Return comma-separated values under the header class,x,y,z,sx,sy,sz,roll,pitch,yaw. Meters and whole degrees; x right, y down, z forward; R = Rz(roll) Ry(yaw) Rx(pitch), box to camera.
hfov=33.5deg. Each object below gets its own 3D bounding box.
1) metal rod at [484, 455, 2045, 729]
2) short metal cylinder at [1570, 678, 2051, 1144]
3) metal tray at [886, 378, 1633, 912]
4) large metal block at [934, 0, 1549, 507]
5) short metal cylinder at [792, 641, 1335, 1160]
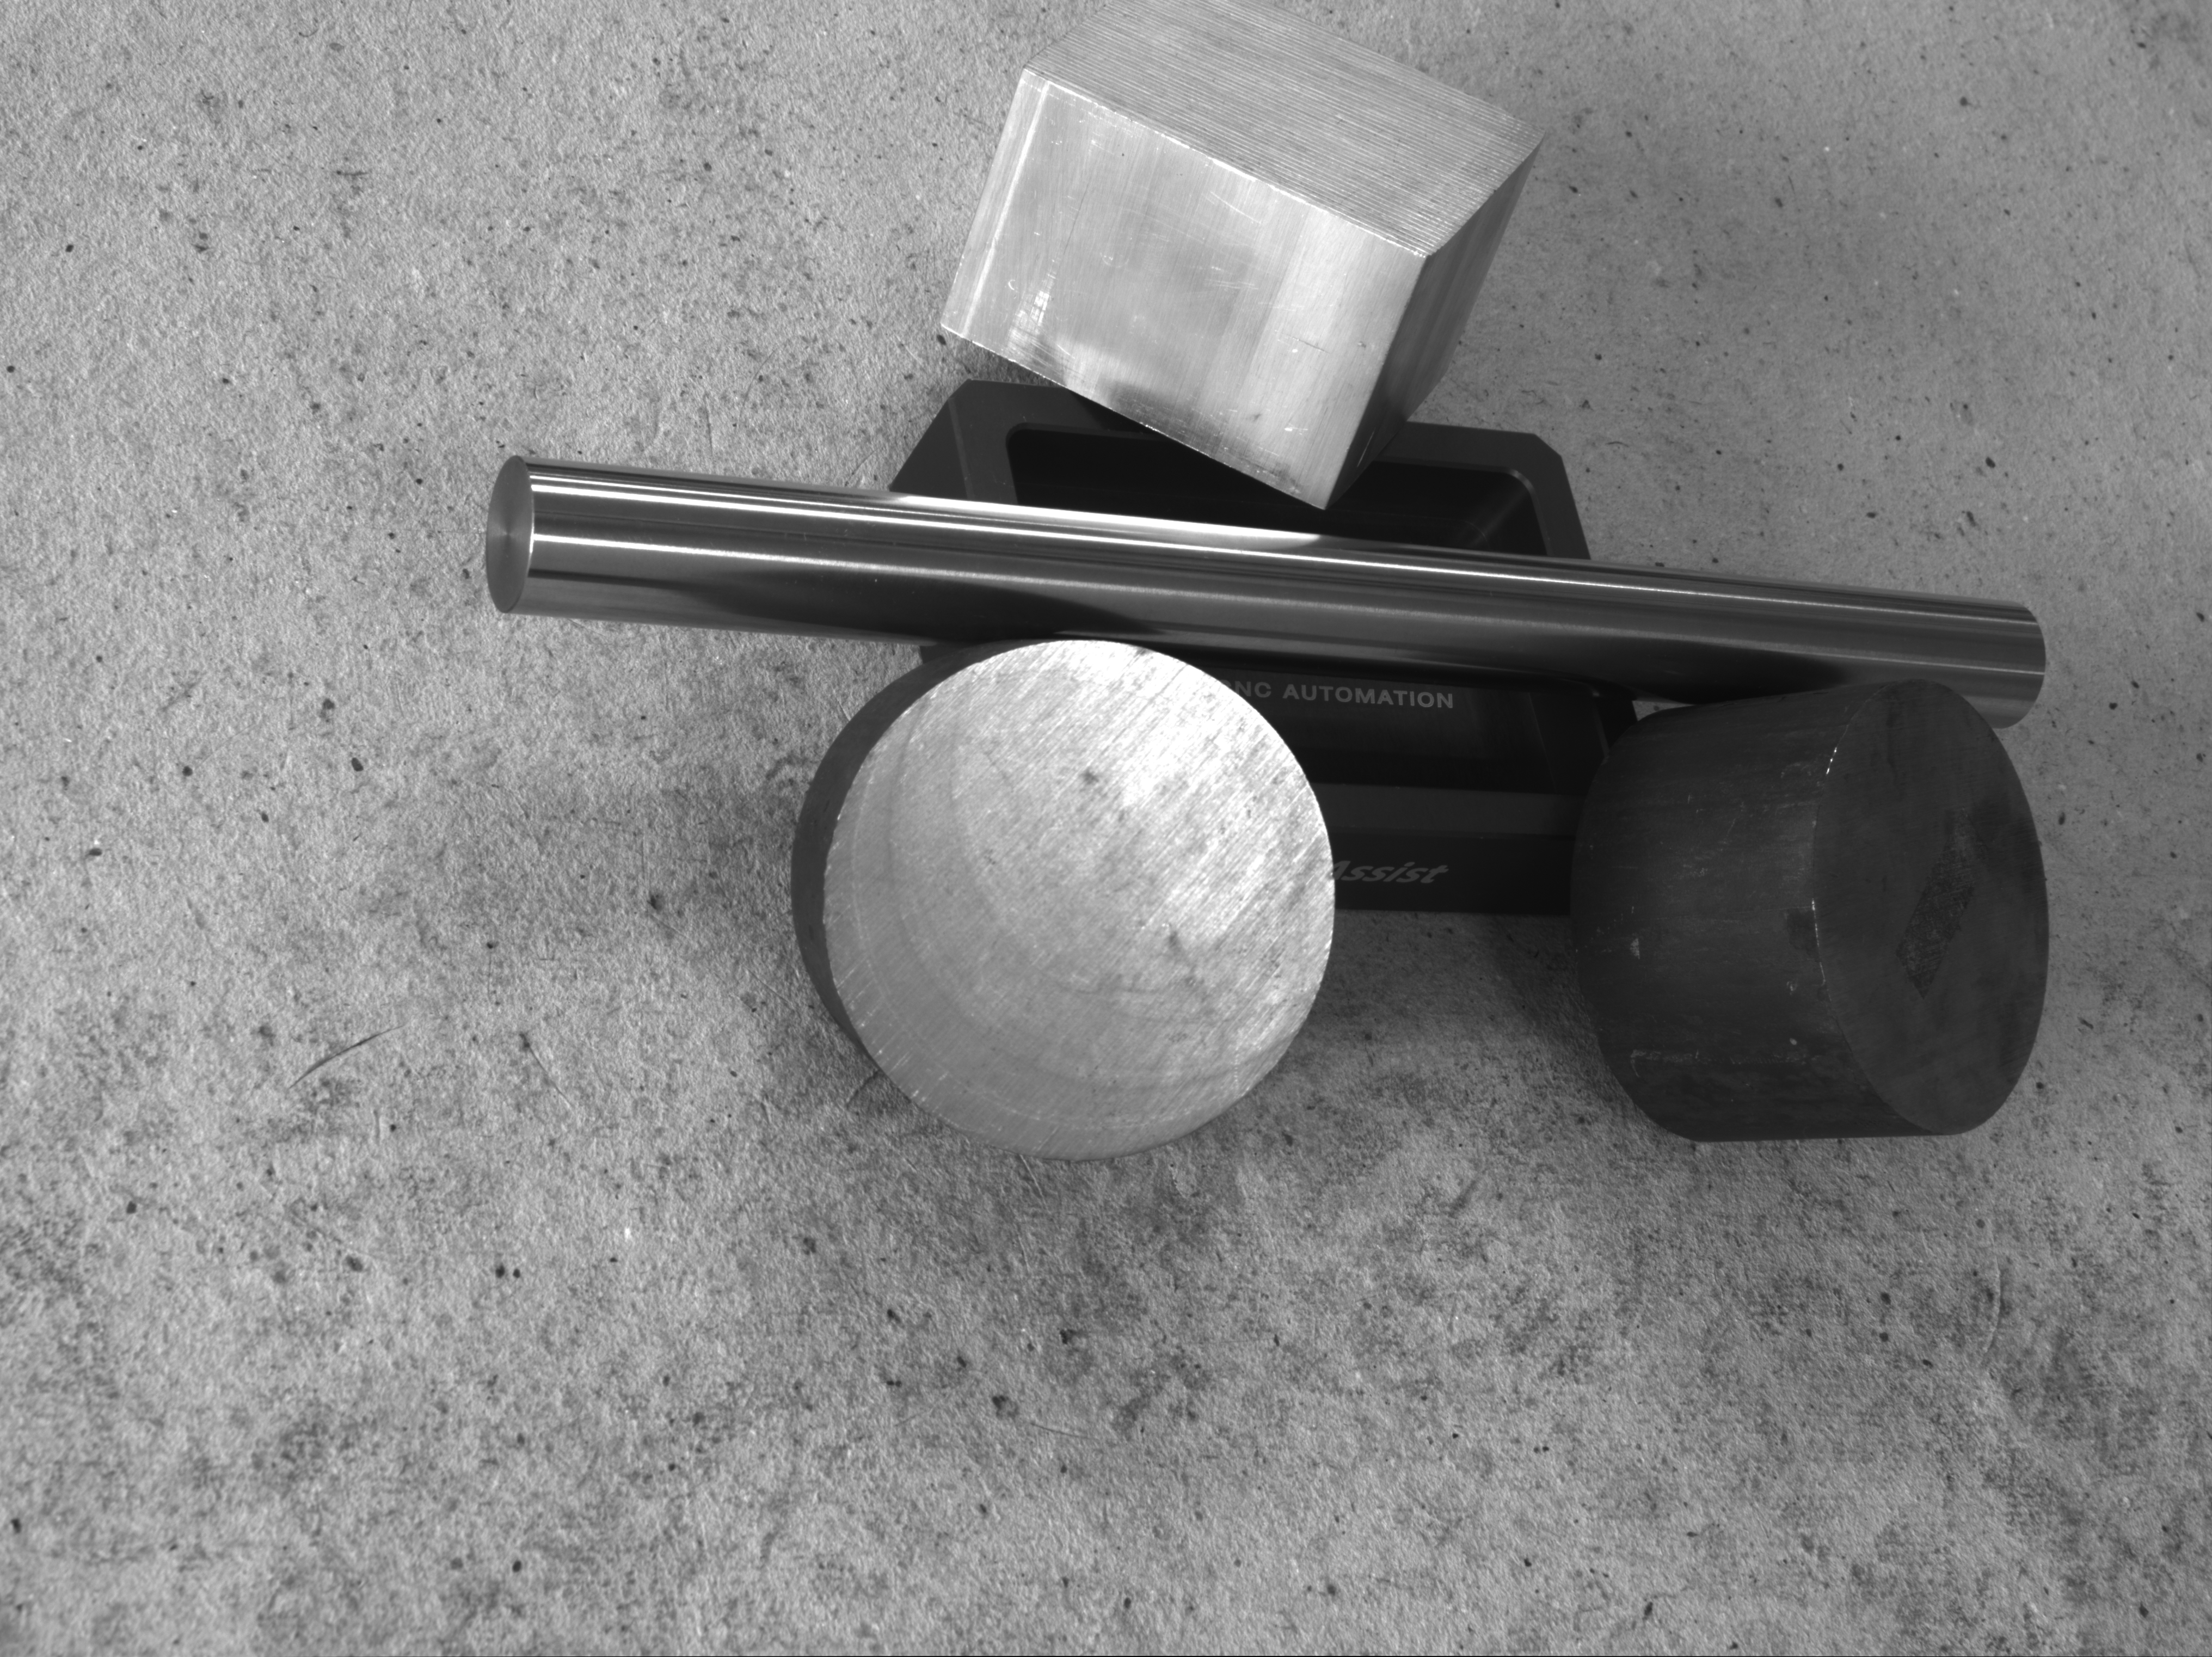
class,x,y,z,sx,sy,sz,roll,pitch,yaw
metal rod,0.040,-0.039,0.647,0.301,0.025,0.025,3,60,-27
short metal cylinder,0.128,0.016,0.661,0.080,0.050,0.080,9,78,-46
metal tray,0.031,-0.032,0.673,0.130,0.030,0.090,2,61,-27
large metal block,0.026,-0.112,0.678,0.080,0.050,0.080,27,34,9
short metal cylinder,-0.008,0.010,0.590,0.080,0.050,0.080,-1,93,-11
